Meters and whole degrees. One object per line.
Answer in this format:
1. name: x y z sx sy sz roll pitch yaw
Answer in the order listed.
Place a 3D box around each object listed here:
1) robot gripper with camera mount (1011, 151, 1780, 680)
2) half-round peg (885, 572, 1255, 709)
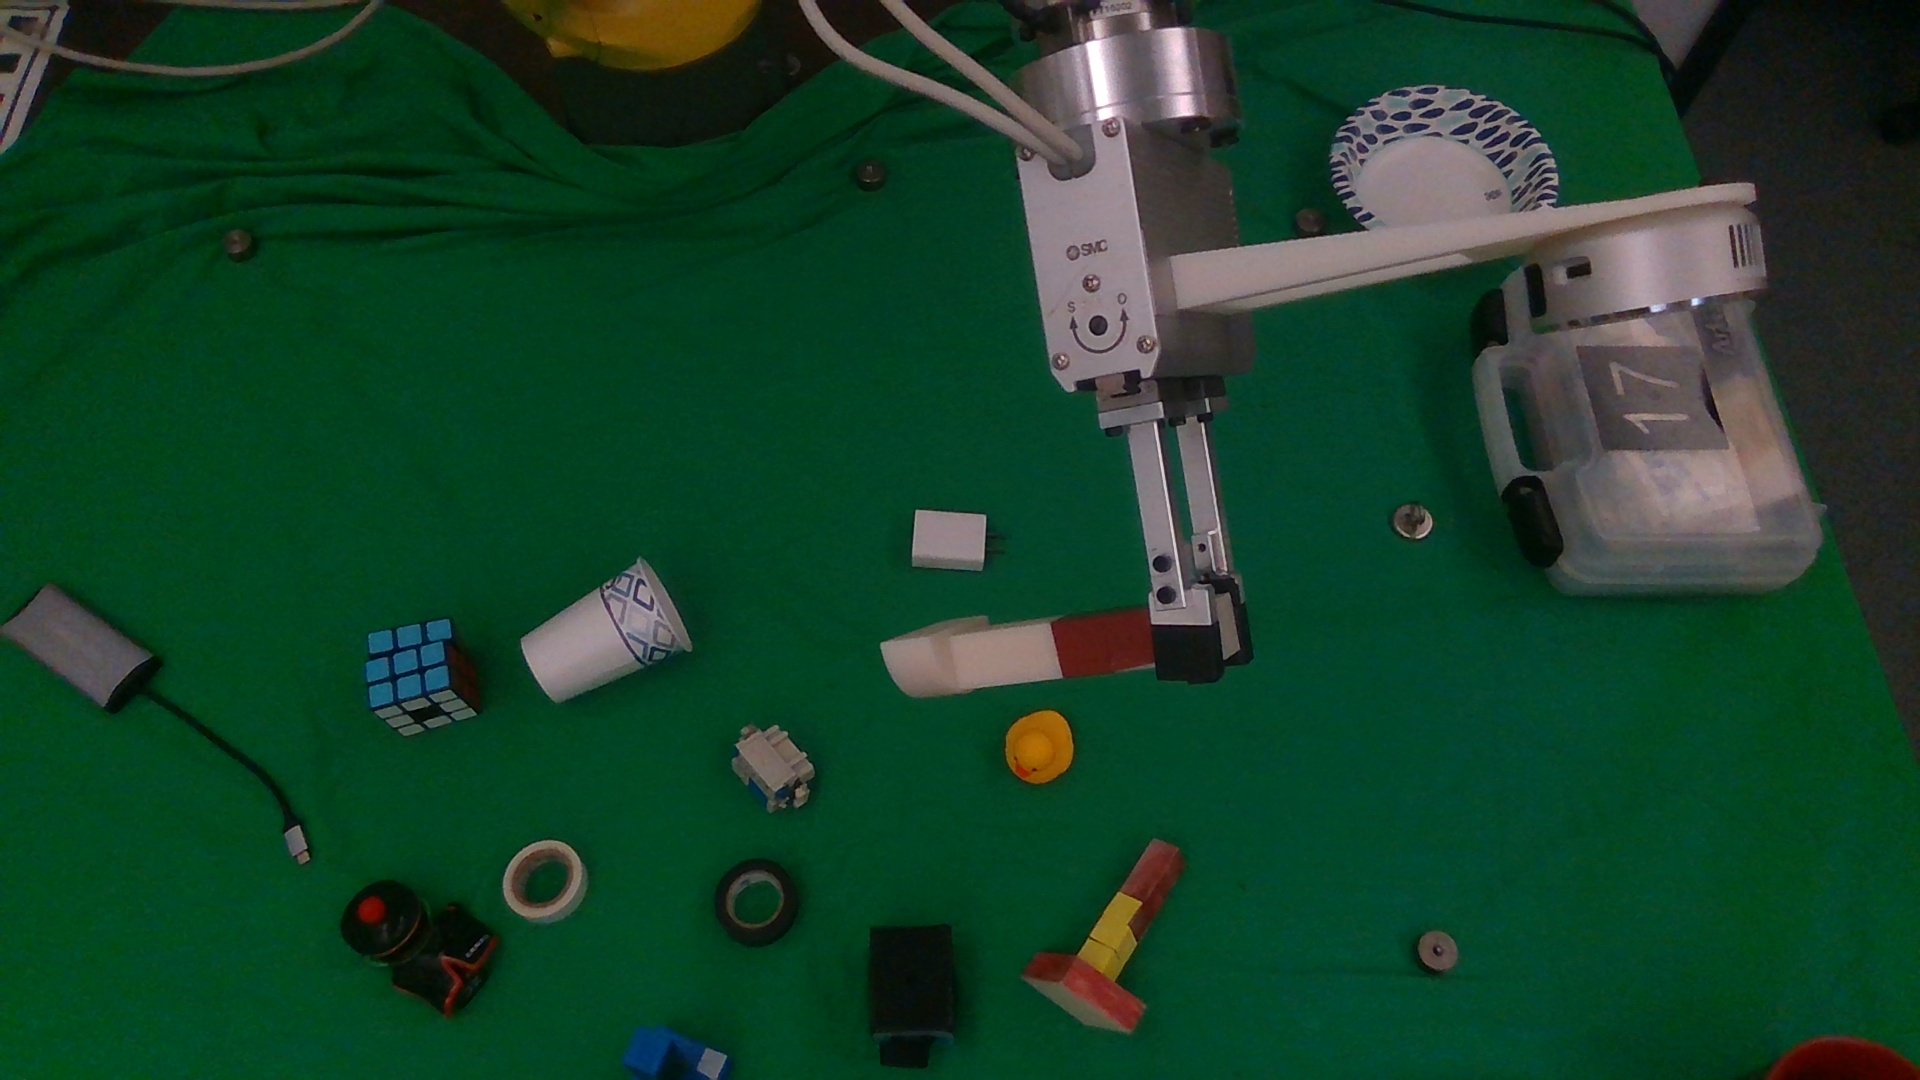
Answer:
1. robot gripper with camera mount: 0.140 -0.048 0.419 0.194 0.118 0.158 -10 91 27
2. half-round peg: 0.039 0.034 0.475 0.122 0.054 0.031 -13 94 25
